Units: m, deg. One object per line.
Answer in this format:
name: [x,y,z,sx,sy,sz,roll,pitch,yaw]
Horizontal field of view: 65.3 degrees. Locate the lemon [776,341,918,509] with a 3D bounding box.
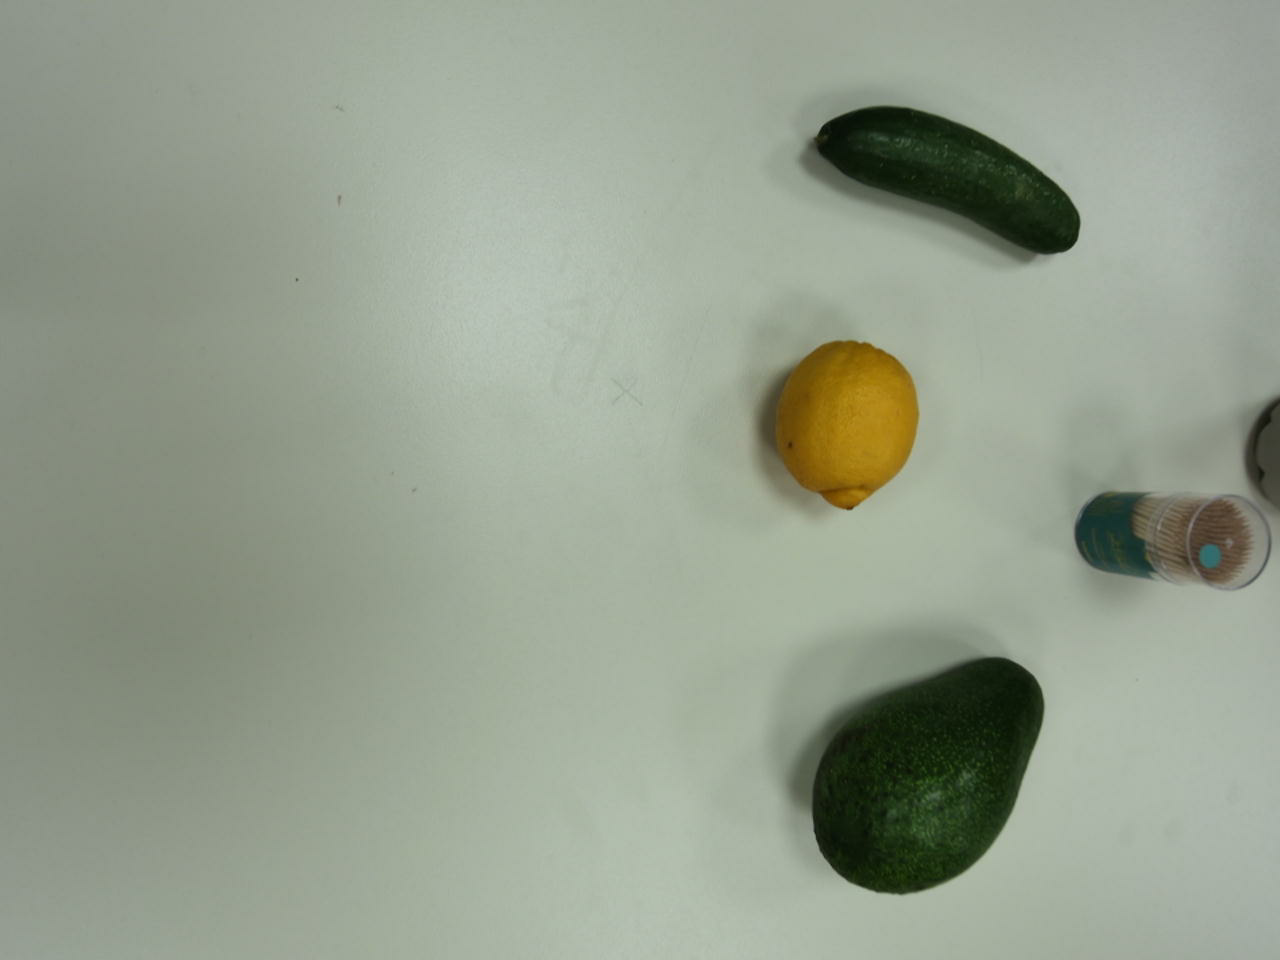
lemon: [0.088,-0.025,0.428,0.061,0.059,0.067,32,84,-10]
